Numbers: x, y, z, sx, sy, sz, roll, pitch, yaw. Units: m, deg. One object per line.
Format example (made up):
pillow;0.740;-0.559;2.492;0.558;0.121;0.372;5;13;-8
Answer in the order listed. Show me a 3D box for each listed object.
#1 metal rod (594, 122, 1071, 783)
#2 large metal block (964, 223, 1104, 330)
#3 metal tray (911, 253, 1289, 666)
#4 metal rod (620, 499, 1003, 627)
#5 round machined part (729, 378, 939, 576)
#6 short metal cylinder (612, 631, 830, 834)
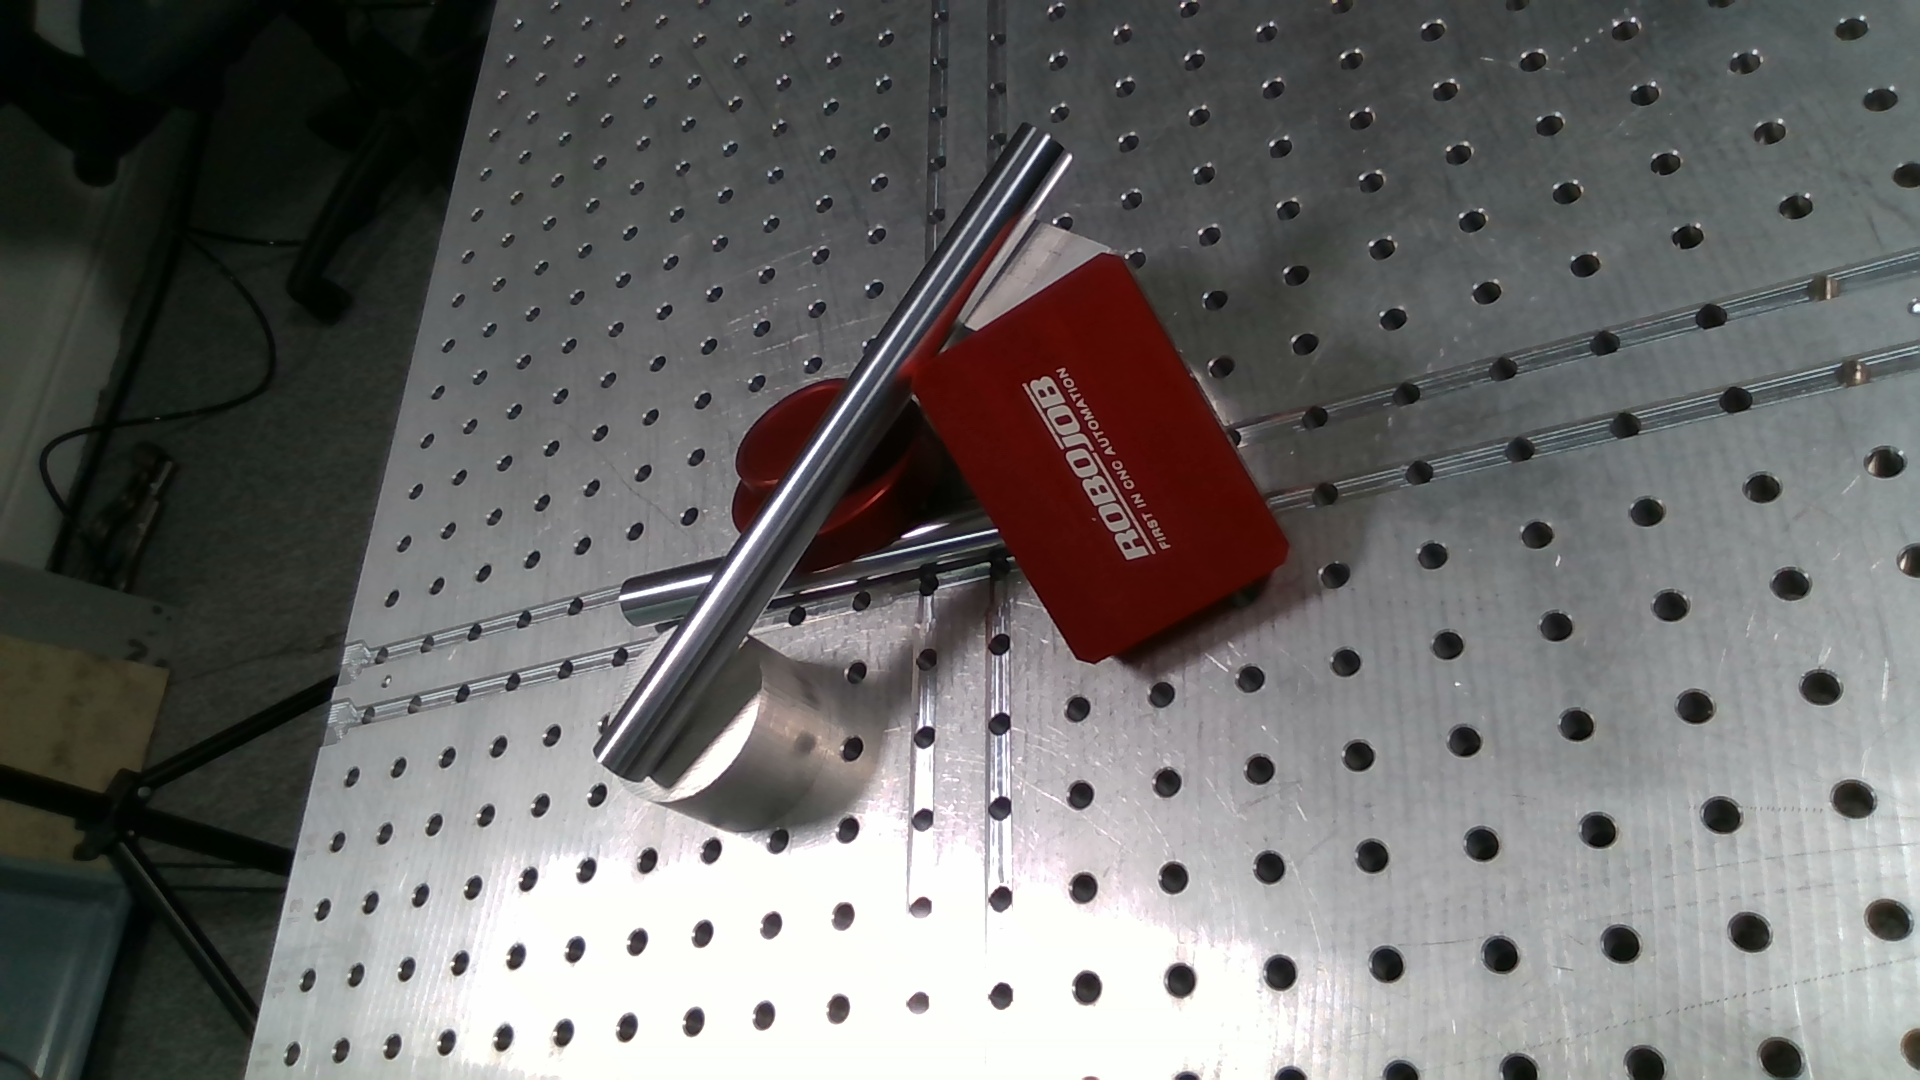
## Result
metal rod;-0.053;-0.031;0.546;0.025;0.025;0.300;39;97;39
large metal block;0.036;-0.090;0.579;0.080;0.080;0.050;32;84;39
metal tray;0.053;-0.030;0.518;0.090;0.030;0.130;-30;95;15
metal rod;-0.025;0.002;0.603;0.300;0.025;0.025;-12;60;26
round machined part;-0.062;-0.034;0.614;0.098;0.042;0.098;-20;39;18
short metal cylinder;-0.104;0.081;0.594;0.080;0.050;0.080;-14;59;25
